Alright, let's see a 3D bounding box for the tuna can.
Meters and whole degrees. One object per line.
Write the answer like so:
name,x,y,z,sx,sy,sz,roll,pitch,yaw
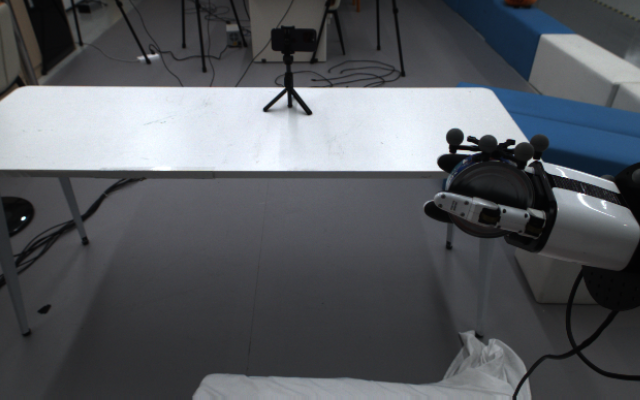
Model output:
tuna can,0.176,-0.008,0.506,0.085,0.085,0.034,9,24,10
